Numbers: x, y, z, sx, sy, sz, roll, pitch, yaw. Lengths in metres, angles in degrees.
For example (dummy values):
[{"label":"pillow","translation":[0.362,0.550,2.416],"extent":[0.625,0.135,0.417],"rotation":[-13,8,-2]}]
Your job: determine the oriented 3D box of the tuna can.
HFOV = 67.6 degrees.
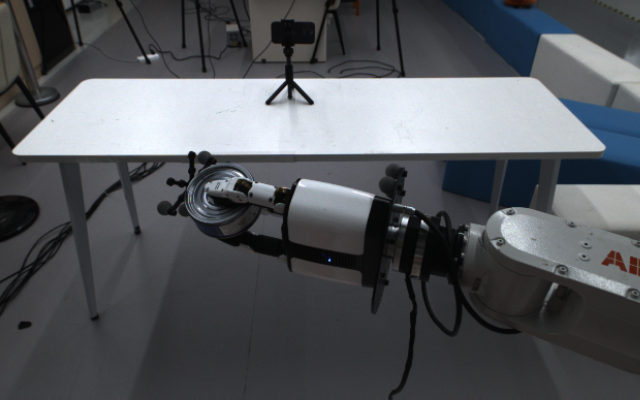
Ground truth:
[{"label":"tuna can","translation":[-0.108,0.005,0.561],"extent":[0.085,0.034,0.085],"rotation":[-3,59,6]}]
